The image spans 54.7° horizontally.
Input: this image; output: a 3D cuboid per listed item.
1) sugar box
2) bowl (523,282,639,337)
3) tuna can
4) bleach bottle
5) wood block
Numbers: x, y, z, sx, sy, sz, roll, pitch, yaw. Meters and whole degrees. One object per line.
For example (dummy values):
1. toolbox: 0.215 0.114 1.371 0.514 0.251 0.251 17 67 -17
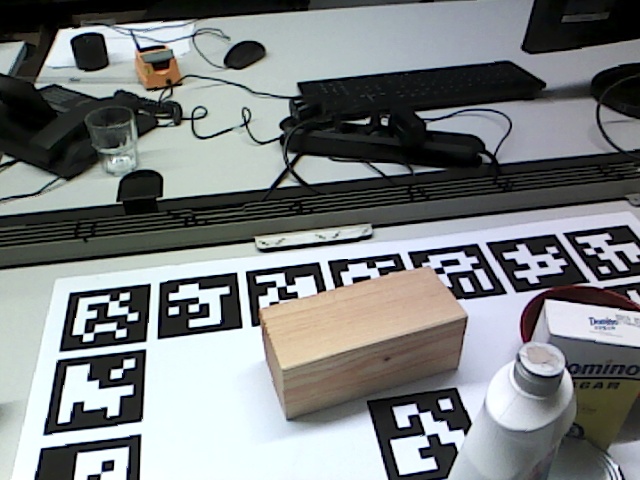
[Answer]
1. sugar box: 0.241 0.132 0.571 0.093 0.176 0.045 4 41 12
2. bowl: 0.306 0.119 0.683 0.162 0.055 0.162 -4 39 3
3. tuna can: 0.231 0.227 0.565 0.086 0.033 0.086 -1 42 1
4. bleach bottle: 0.135 0.173 0.470 0.102 0.250 0.068 -26 44 -26
5. wood block: 0.043 0.113 0.680 0.205 0.089 0.091 -13 44 -15
